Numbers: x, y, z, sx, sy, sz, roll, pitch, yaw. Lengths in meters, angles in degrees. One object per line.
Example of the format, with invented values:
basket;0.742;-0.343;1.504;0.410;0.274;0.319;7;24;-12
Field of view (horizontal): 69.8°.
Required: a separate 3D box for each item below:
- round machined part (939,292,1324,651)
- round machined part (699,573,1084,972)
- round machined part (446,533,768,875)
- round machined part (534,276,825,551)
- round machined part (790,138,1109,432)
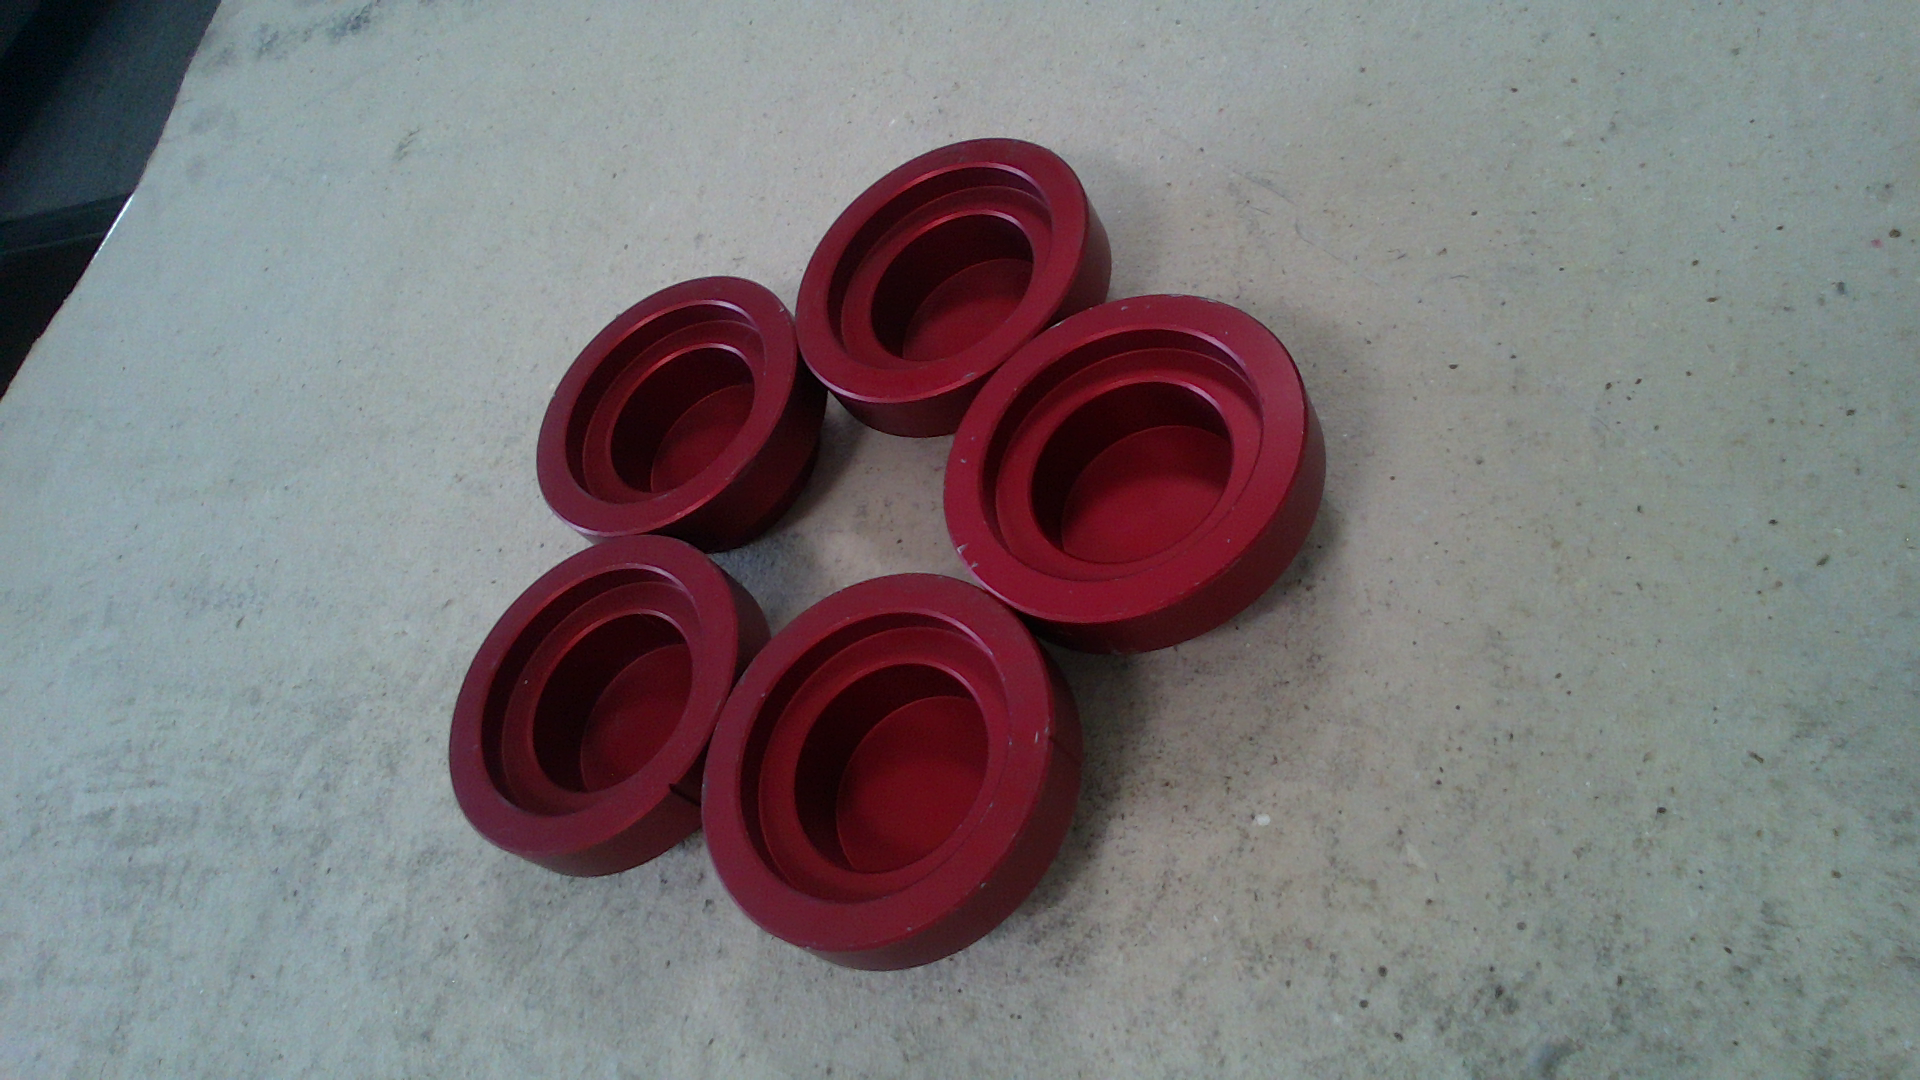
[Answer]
round machined part;0.047;-0.014;0.365;0.098;0.042;0.098;-13;55;20
round machined part;-0.014;0.061;0.353;0.098;0.042;0.098;-13;56;20
round machined part;-0.097;0.050;0.404;0.098;0.042;0.098;-13;55;20
round machined part;-0.086;-0.035;0.451;0.098;0.042;0.098;-14;54;20
round machined part;0.000;-0.074;0.427;0.098;0.042;0.098;-13;55;20
